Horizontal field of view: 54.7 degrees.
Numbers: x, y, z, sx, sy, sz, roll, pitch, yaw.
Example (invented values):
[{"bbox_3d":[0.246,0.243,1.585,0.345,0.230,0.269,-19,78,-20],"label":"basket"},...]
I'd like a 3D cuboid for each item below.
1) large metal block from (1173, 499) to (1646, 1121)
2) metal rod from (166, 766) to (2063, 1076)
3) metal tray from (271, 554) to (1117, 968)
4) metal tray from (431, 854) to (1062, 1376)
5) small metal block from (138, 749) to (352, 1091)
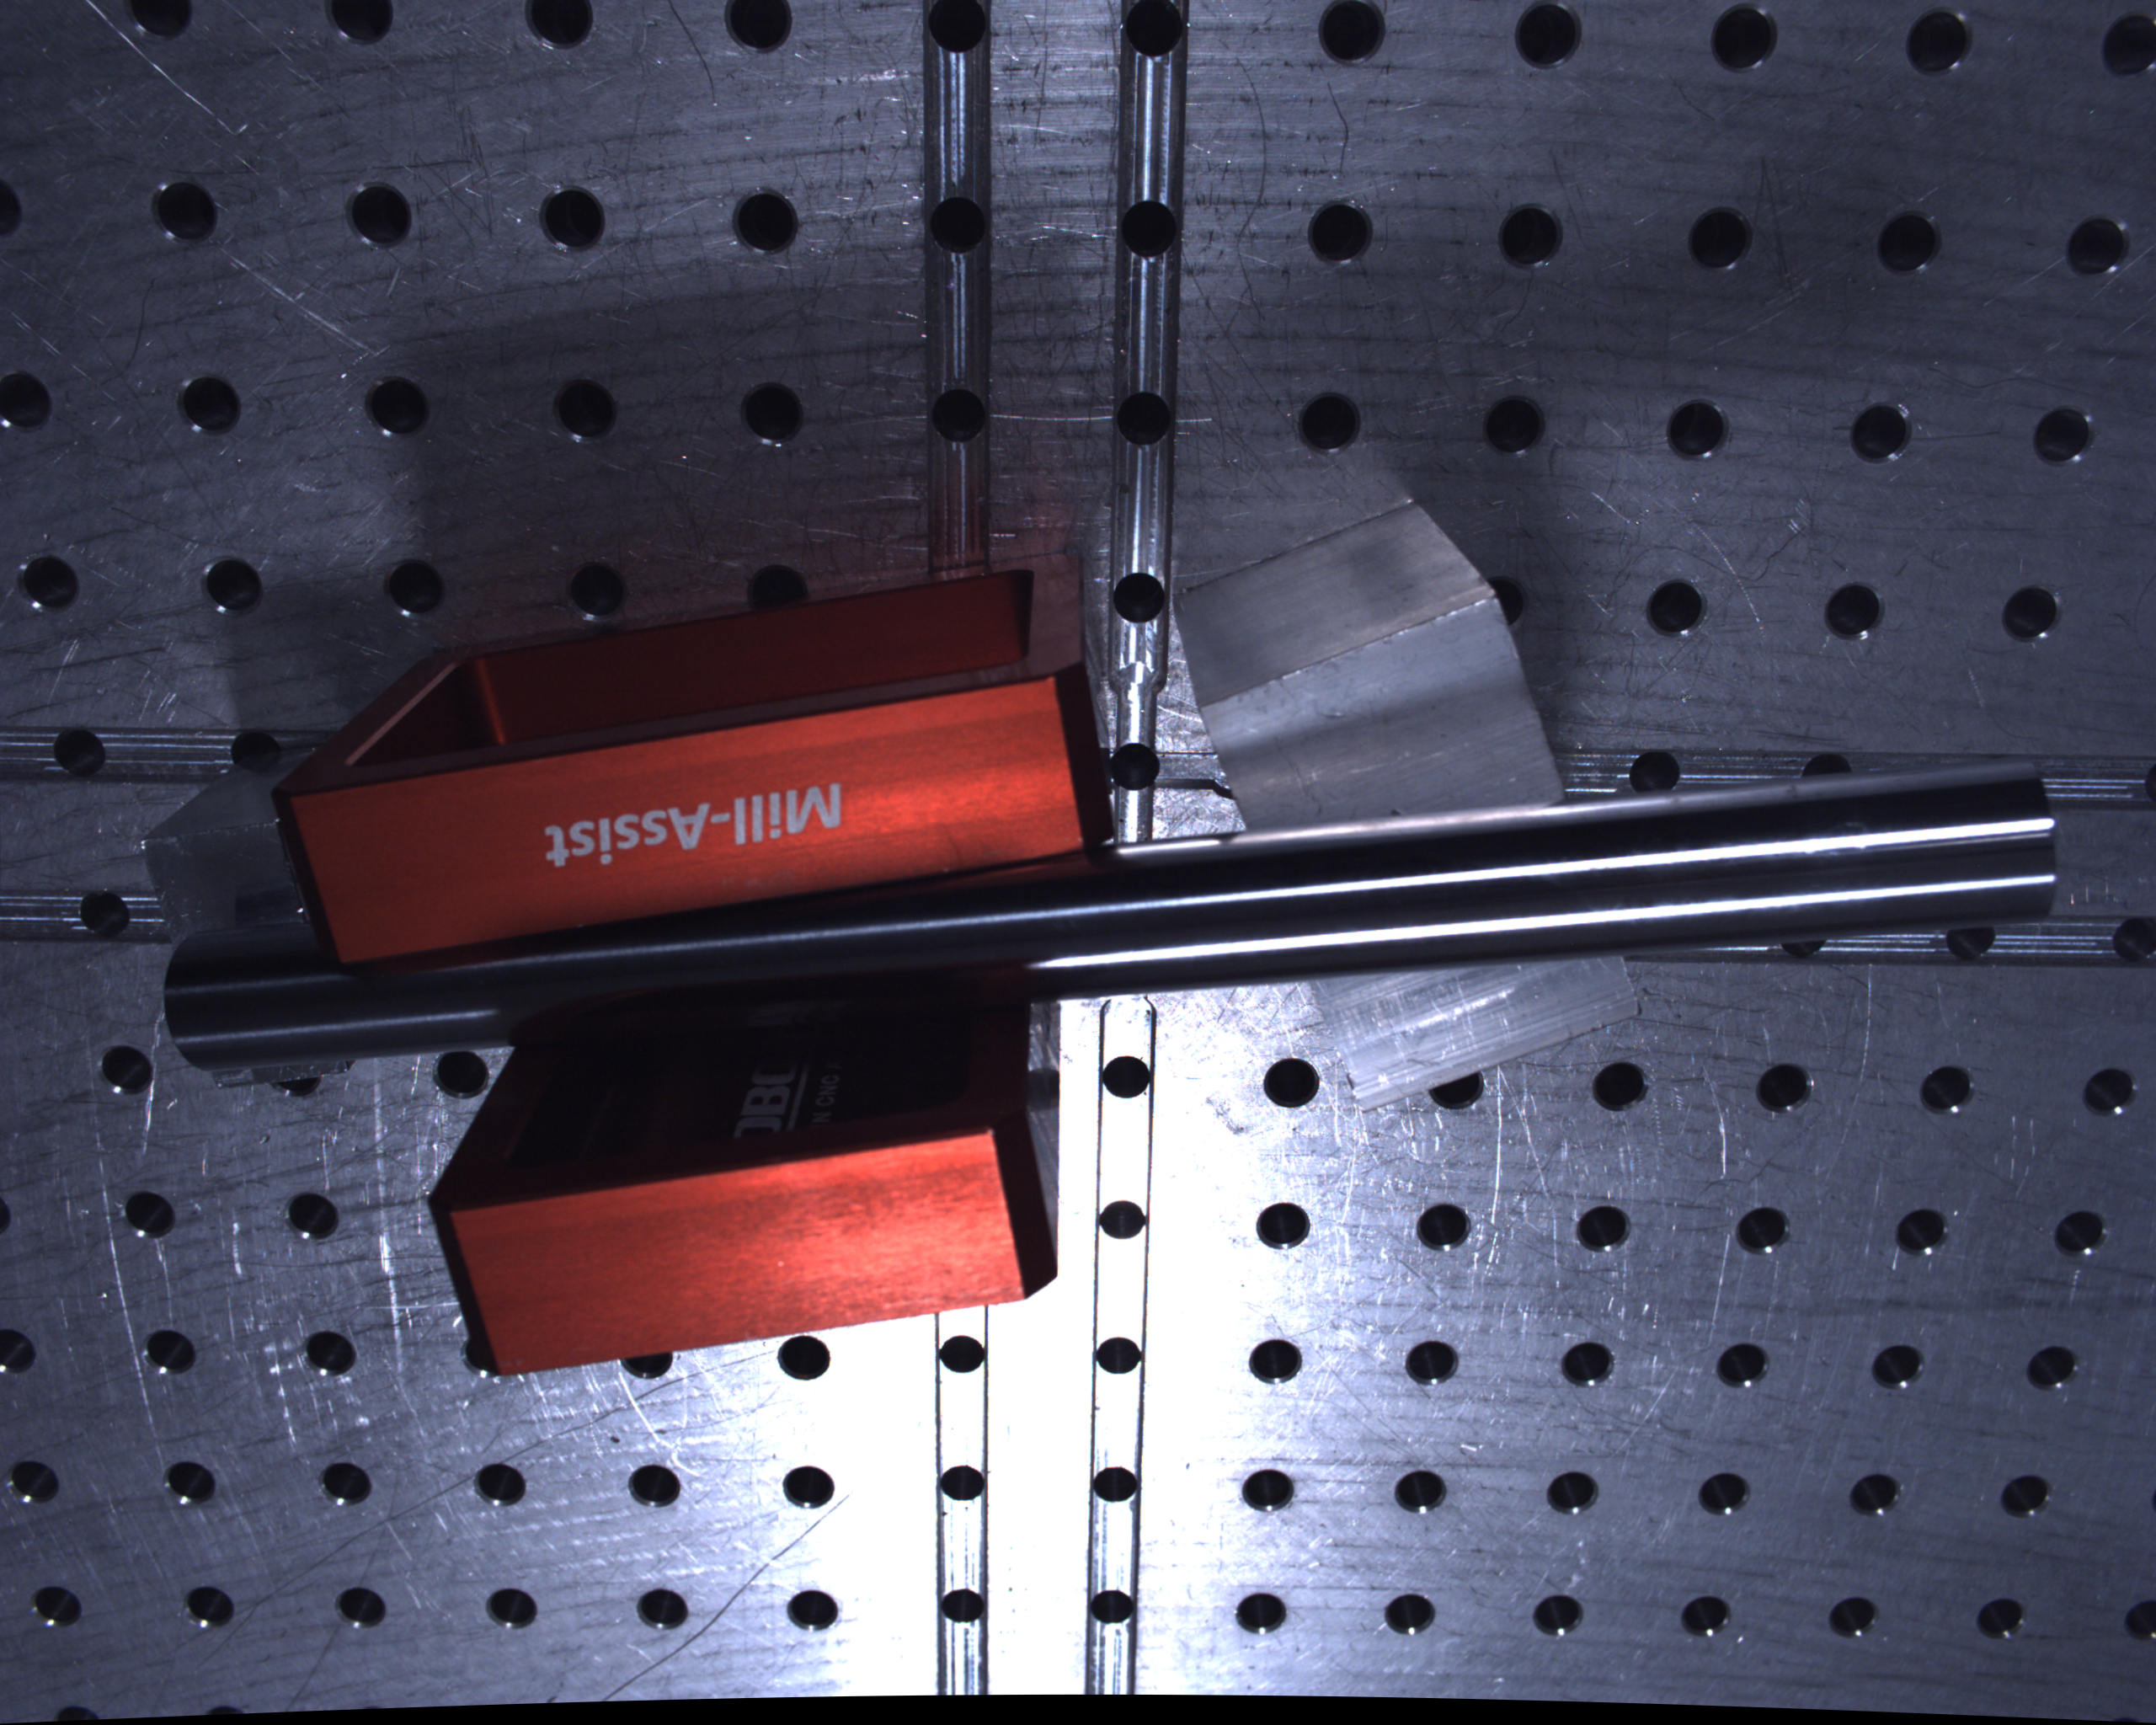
[{"bbox_3d":[0.057,-0.013,0.379,0.050,0.080,0.080,-21,109,7],"label":"large metal block"},{"bbox_3d":[-0.005,0.012,0.337,0.301,0.025,0.025,-5,111,11],"label":"metal rod"},{"bbox_3d":[-0.061,-0.021,0.369,0.131,0.090,0.030,-8,111,2],"label":"metal tray"},{"bbox_3d":[-0.050,0.036,0.370,0.091,0.130,0.030,-9,111,3],"label":"metal tray"},{"bbox_3d":[-0.151,0.009,0.401,0.025,0.050,0.050,-8,110,2],"label":"small metal block"}]
